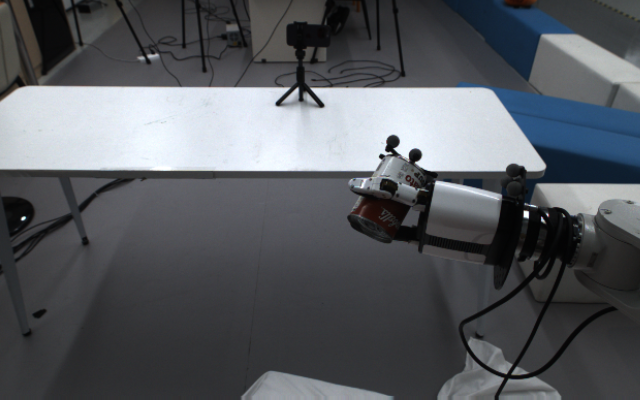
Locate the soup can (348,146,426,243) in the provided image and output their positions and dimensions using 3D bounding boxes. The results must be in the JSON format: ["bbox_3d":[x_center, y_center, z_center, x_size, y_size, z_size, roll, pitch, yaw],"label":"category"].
[{"bbox_3d":[0.091,-0.003,0.648,0.067,0.067,0.101,24,72,29],"label":"soup can"}]
